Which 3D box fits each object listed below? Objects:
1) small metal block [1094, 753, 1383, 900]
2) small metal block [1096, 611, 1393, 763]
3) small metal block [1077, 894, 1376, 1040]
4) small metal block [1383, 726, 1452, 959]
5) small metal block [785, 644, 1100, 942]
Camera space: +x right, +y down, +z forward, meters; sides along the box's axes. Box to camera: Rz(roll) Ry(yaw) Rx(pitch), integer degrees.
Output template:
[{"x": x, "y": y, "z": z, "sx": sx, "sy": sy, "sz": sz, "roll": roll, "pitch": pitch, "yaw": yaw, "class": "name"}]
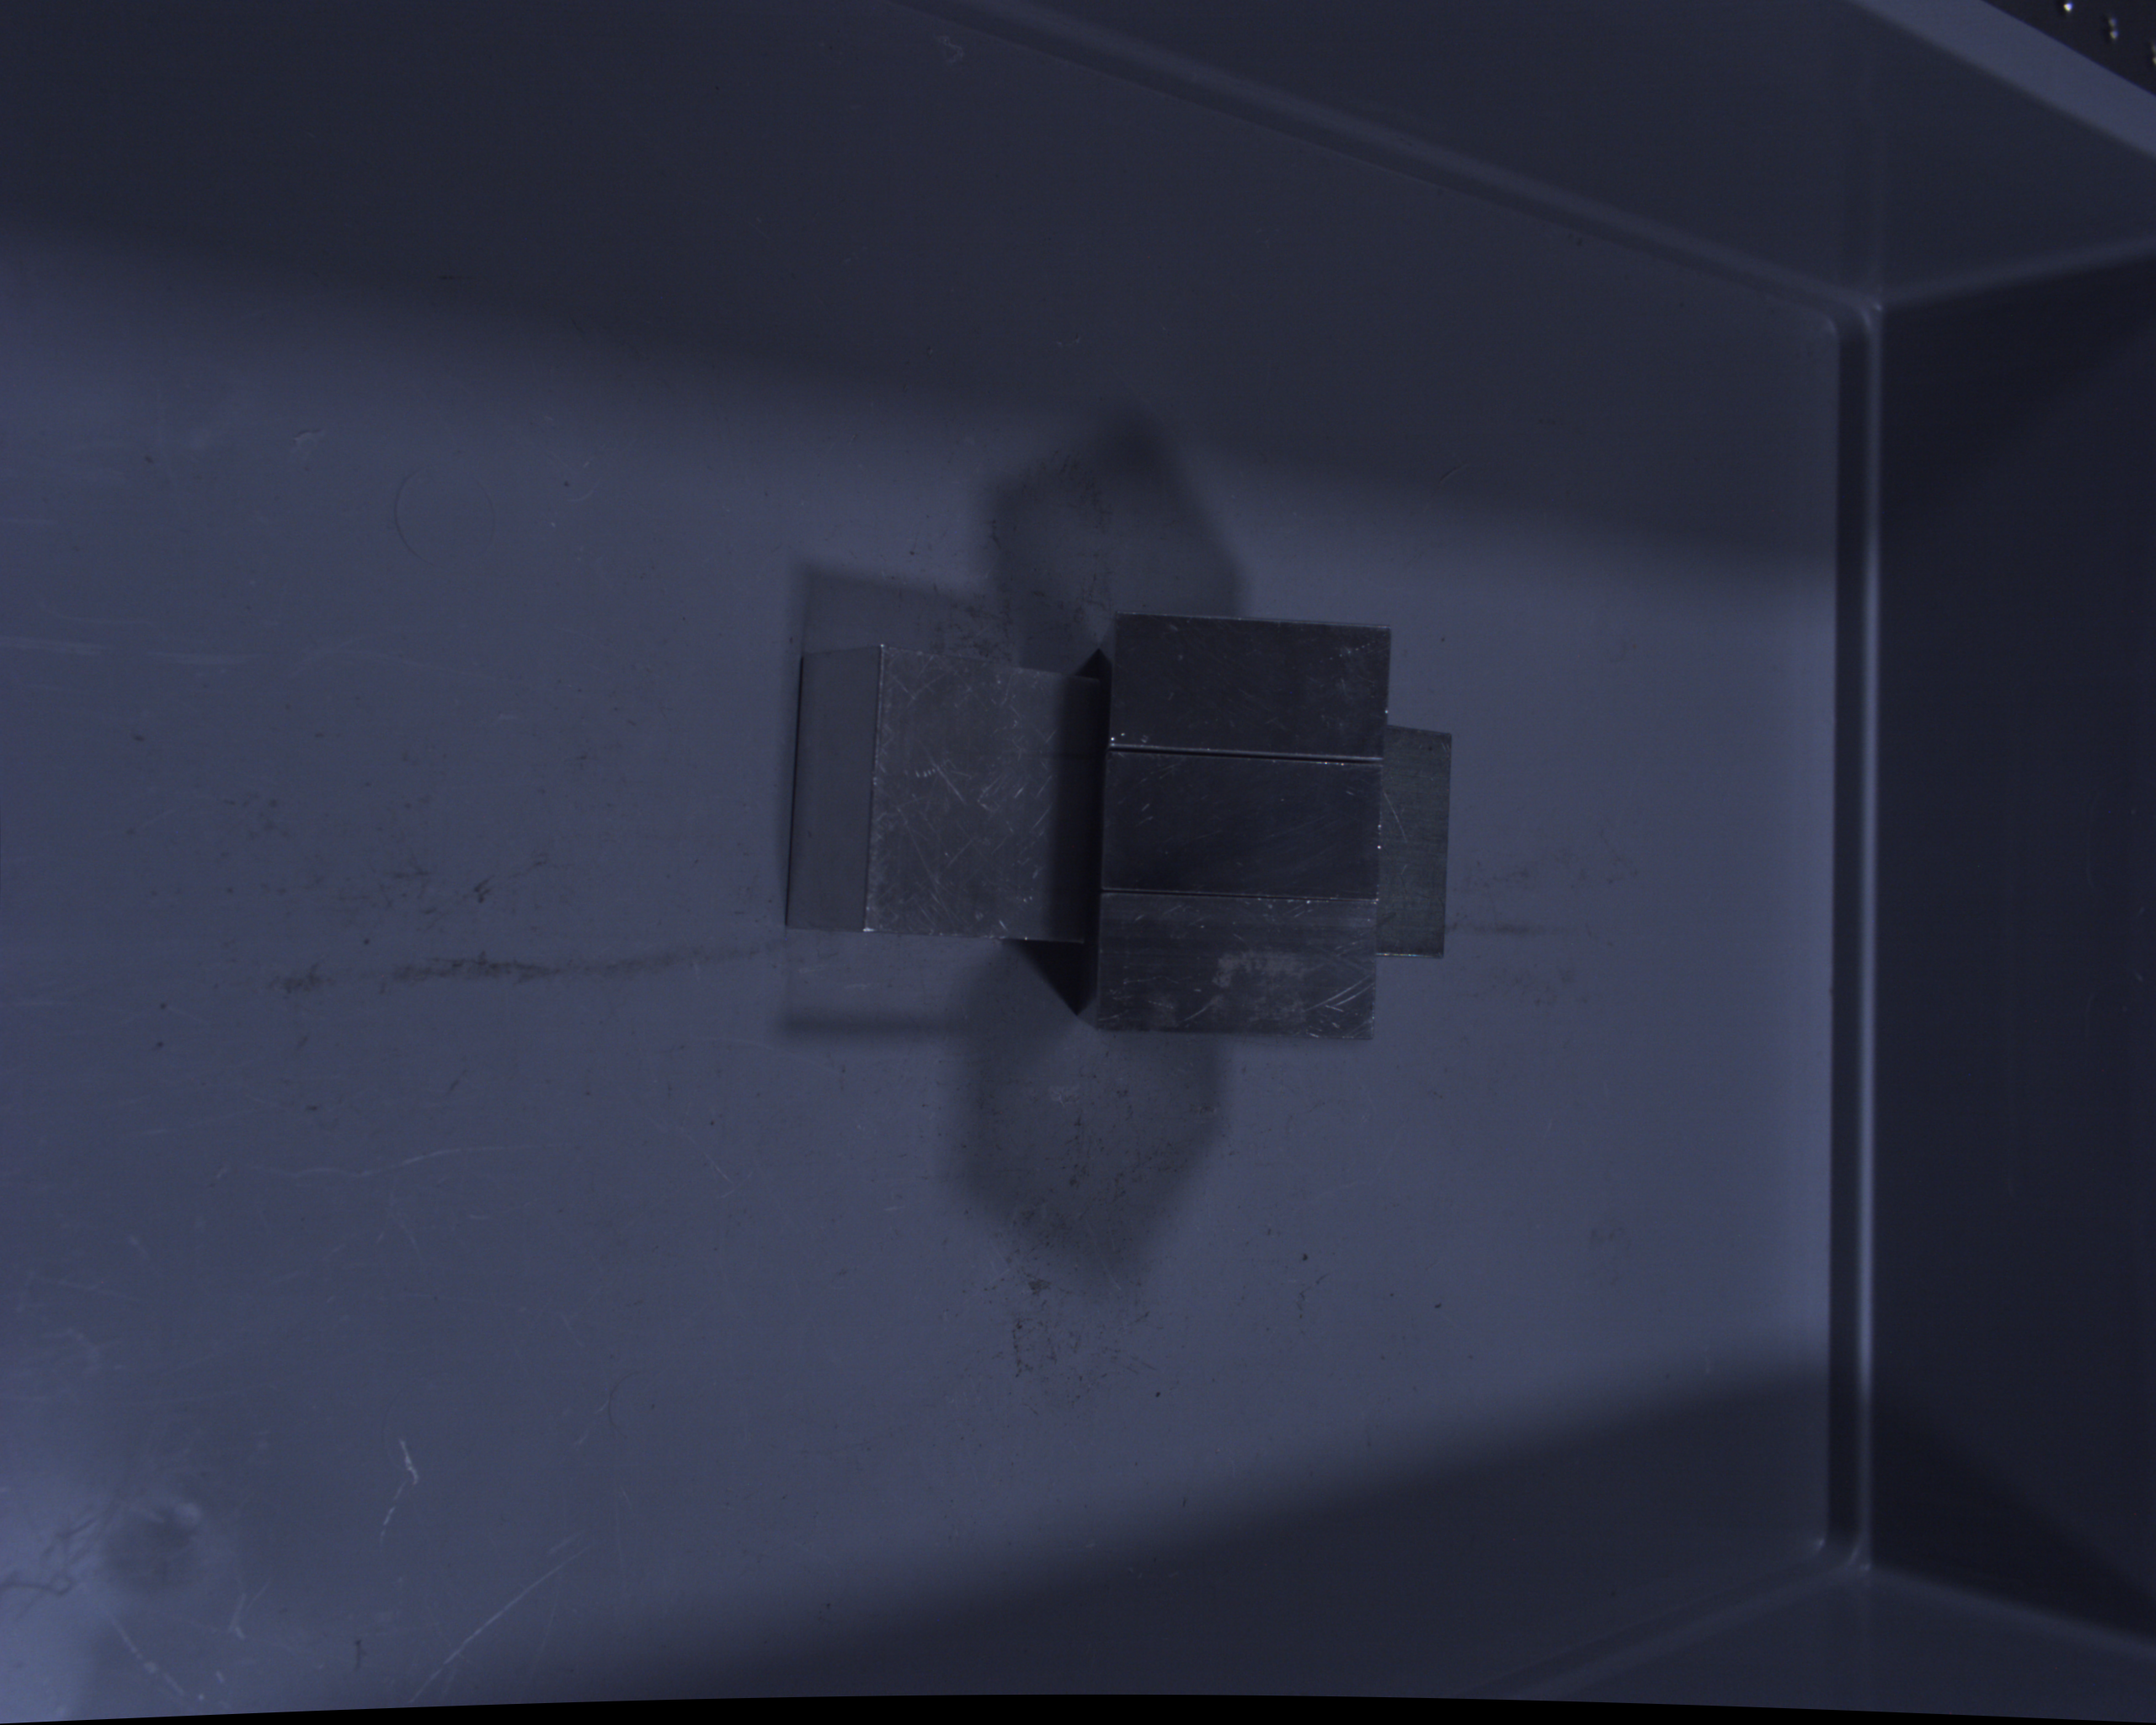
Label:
[{"x": 0.028, "y": -0.006, "z": 0.401, "sx": 0.050, "sy": 0.050, "sz": 0.025, "roll": 2, "pitch": 88, "yaw": -4, "class": "small metal block"}, {"x": 0.030, "y": -0.031, "z": 0.402, "sx": 0.050, "sy": 0.050, "sz": 0.025, "roll": 3, "pitch": 88, "yaw": -4, "class": "small metal block"}, {"x": 0.027, "y": 0.020, "z": 0.400, "sx": 0.050, "sy": 0.050, "sz": 0.025, "roll": 2, "pitch": 88, "yaw": -4, "class": "small metal block"}, {"x": 0.054, "y": -0.005, "z": 0.453, "sx": 0.050, "sy": 0.025, "sz": 0.050, "roll": 4, "pitch": 88, "yaw": -40, "class": "small metal block"}, {"x": -0.025, "y": -0.012, "z": 0.386, "sx": 0.050, "sy": 0.025, "sz": 0.050, "roll": 5, "pitch": 87, "yaw": -40, "class": "small metal block"}]
